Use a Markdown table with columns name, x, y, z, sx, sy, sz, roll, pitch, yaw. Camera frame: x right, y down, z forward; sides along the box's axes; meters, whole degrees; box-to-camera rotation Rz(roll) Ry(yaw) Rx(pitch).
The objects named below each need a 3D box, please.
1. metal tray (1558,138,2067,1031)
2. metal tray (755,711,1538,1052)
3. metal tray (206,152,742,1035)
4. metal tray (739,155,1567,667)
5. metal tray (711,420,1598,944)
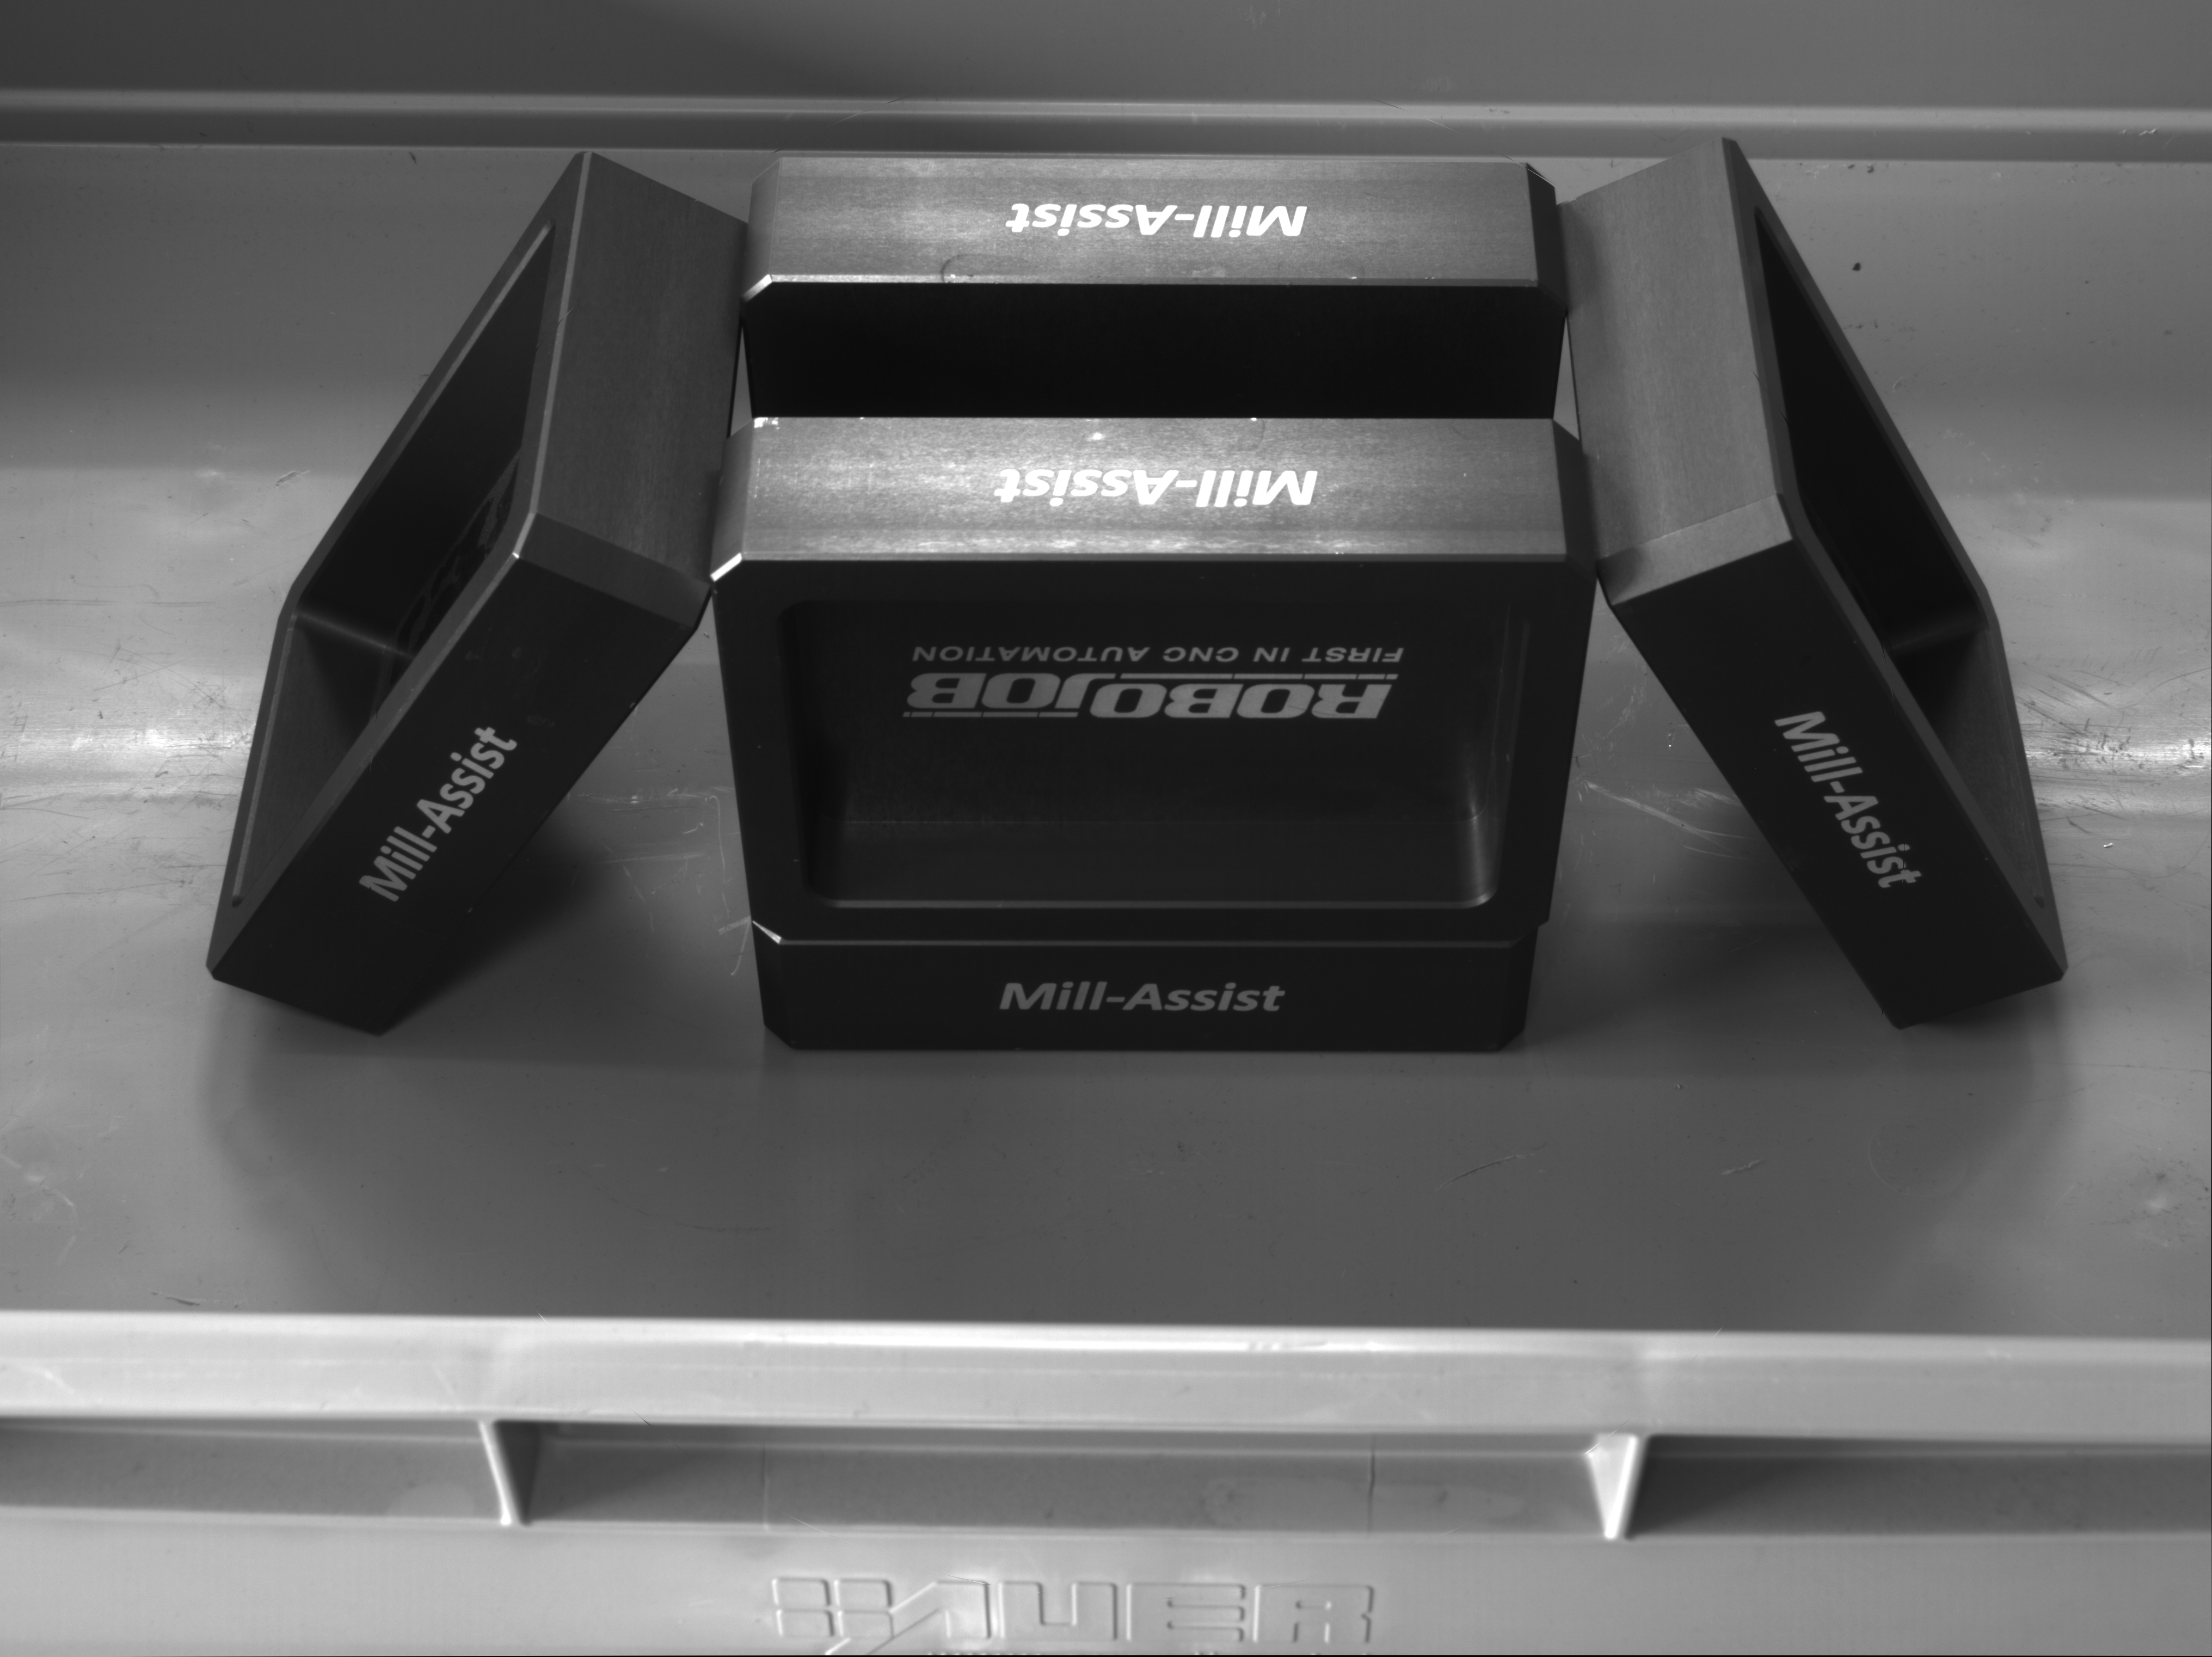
| name | x | y | z | sx | sy | sz | roll | pitch | yaw |
| --- | --- | --- | --- | --- | --- | --- | --- | --- | --- |
| metal tray | 0.117 | -0.038 | 0.606 | 0.030 | 0.130 | 0.090 | -20 | 46 | 23 |
| metal tray | 0.007 | -0.006 | 0.642 | 0.130 | 0.030 | 0.090 | 0 | 50 | -1 |
| metal tray | -0.104 | -0.037 | 0.605 | 0.030 | 0.130 | 0.090 | 22 | 46 | -24 |
| metal tray | 0.008 | -0.068 | 0.615 | 0.130 | 0.090 | 0.030 | 0 | 50 | 0 |
| metal tray | 0.007 | -0.021 | 0.576 | 0.130 | 0.090 | 0.030 | 0 | 49 | 0 |
